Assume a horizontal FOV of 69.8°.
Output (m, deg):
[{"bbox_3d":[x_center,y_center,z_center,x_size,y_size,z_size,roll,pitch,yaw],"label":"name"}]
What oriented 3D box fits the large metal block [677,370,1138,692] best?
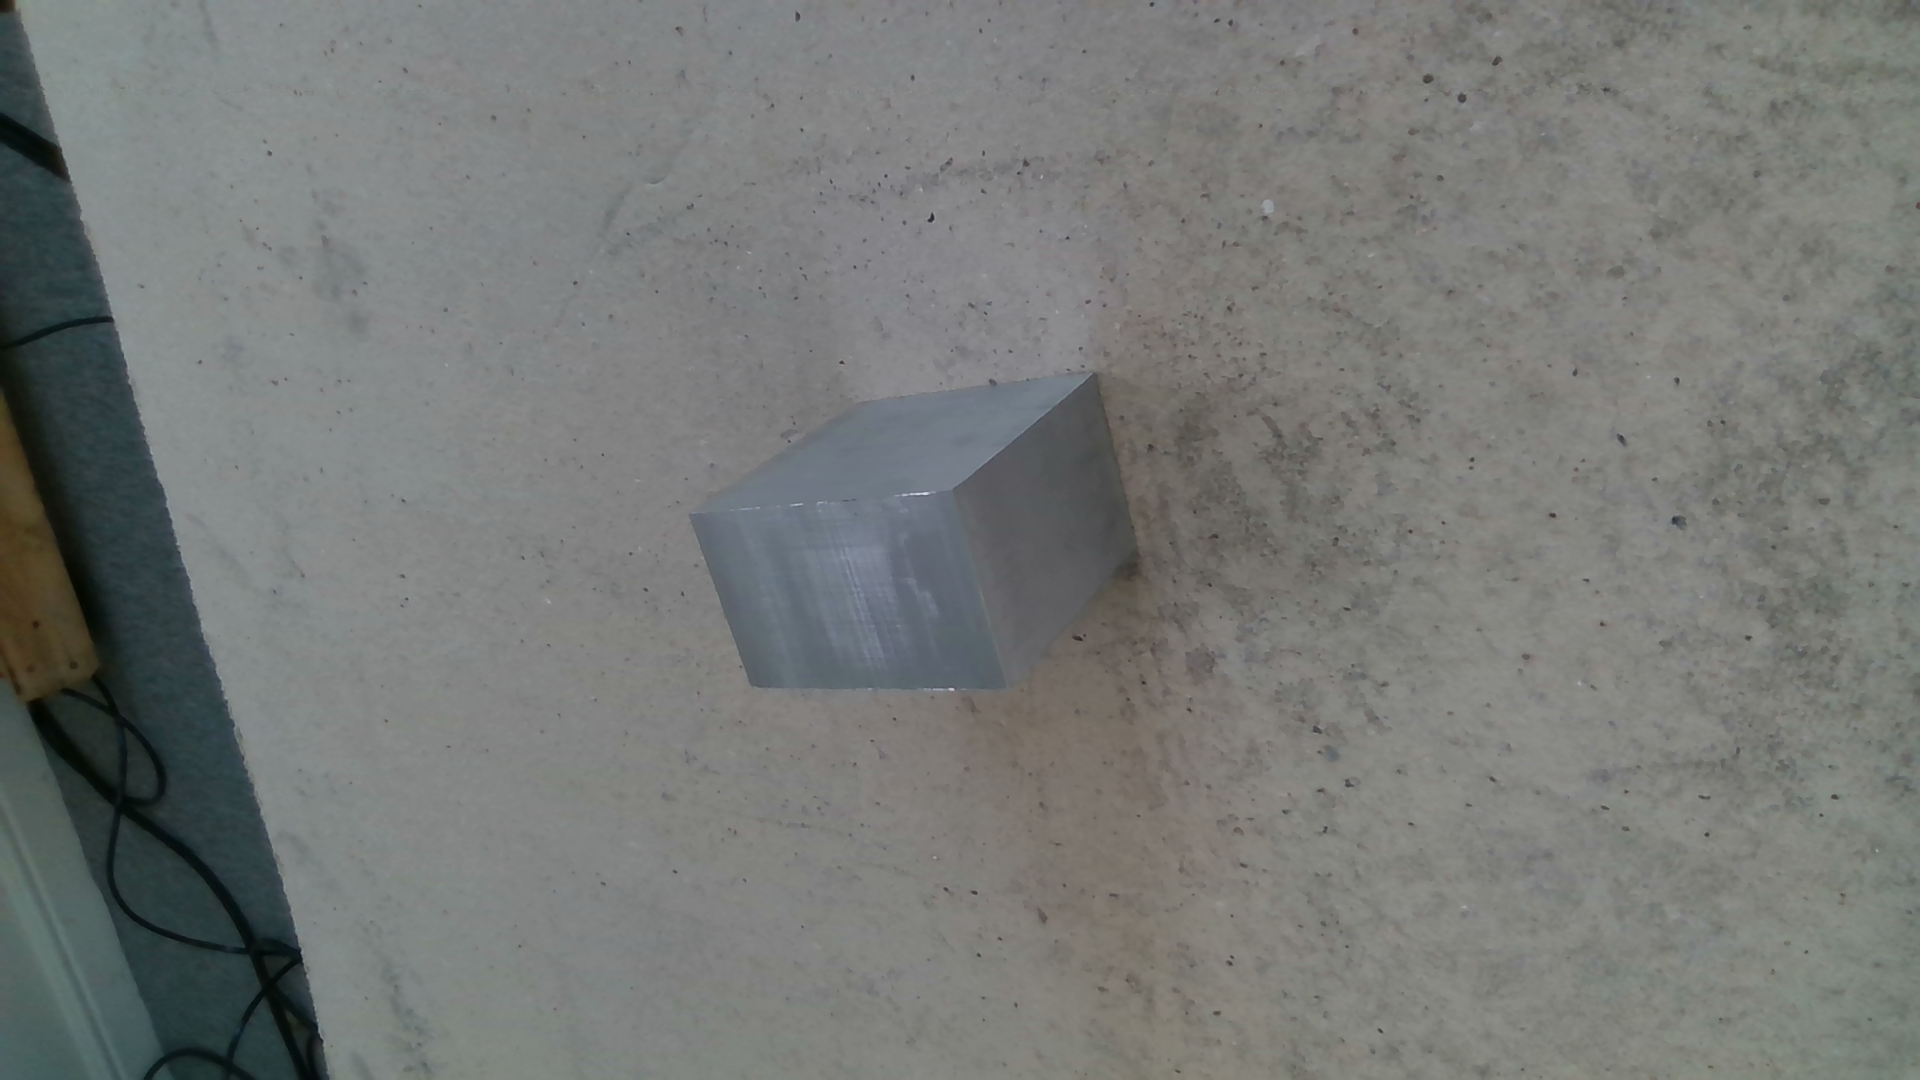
[{"bbox_3d":[-0.011,-0.003,0.357,0.080,0.080,0.050,-3,113,33],"label":"large metal block"}]
